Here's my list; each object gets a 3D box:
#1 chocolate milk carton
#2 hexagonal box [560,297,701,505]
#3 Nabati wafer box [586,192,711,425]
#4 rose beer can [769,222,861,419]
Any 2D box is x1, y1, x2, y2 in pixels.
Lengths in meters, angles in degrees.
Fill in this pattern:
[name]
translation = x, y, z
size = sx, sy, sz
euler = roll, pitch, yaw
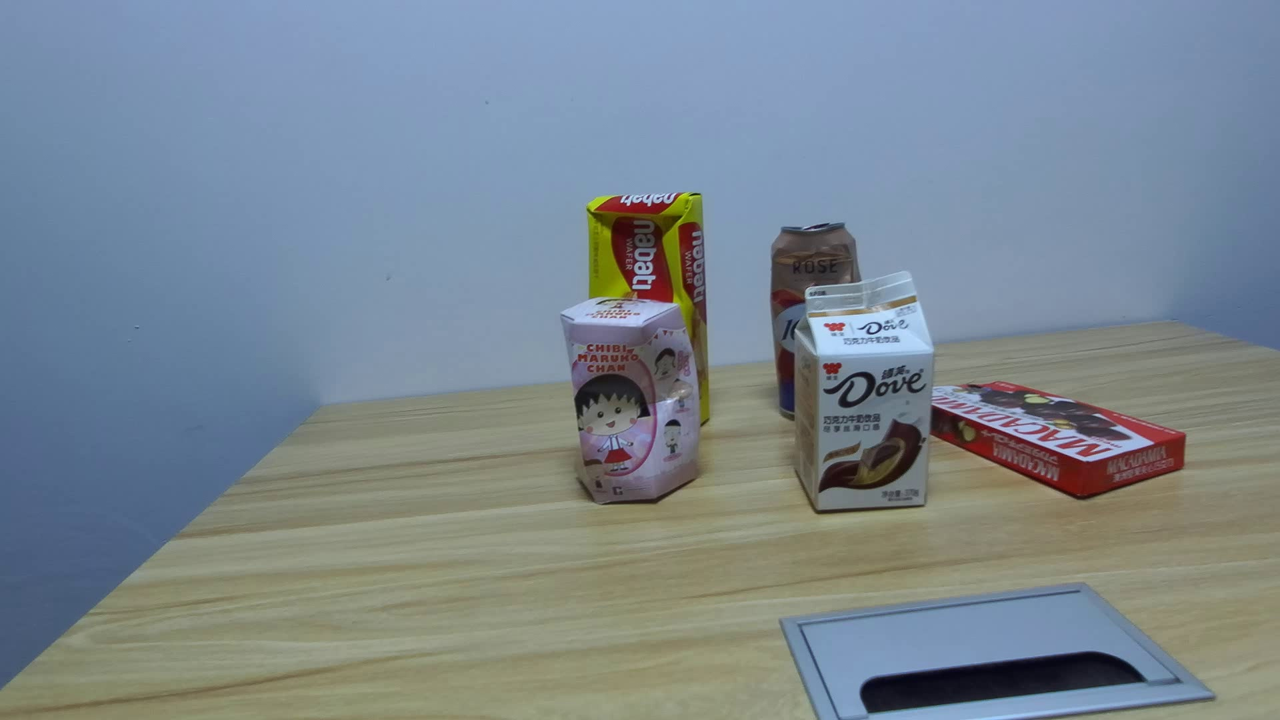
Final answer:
[chocolate milk carton]
translation = 0.146, 0.017, 0.470
size = 0.075, 0.148, 0.074
euler = -3, 16, 1
[hexagonal box]
translation = -0.012, 0.027, 0.512
size = 0.089, 0.134, 0.093
euler = -12, 18, -23
[Nabati wafer box]
translation = 0.007, -0.039, 0.614
size = 0.096, 0.203, 0.042
euler = 4, 17, 25
[rose beer can]
translation = 0.152, -0.030, 0.603
size = 0.075, 0.167, 0.065
euler = -2, 6, 28
